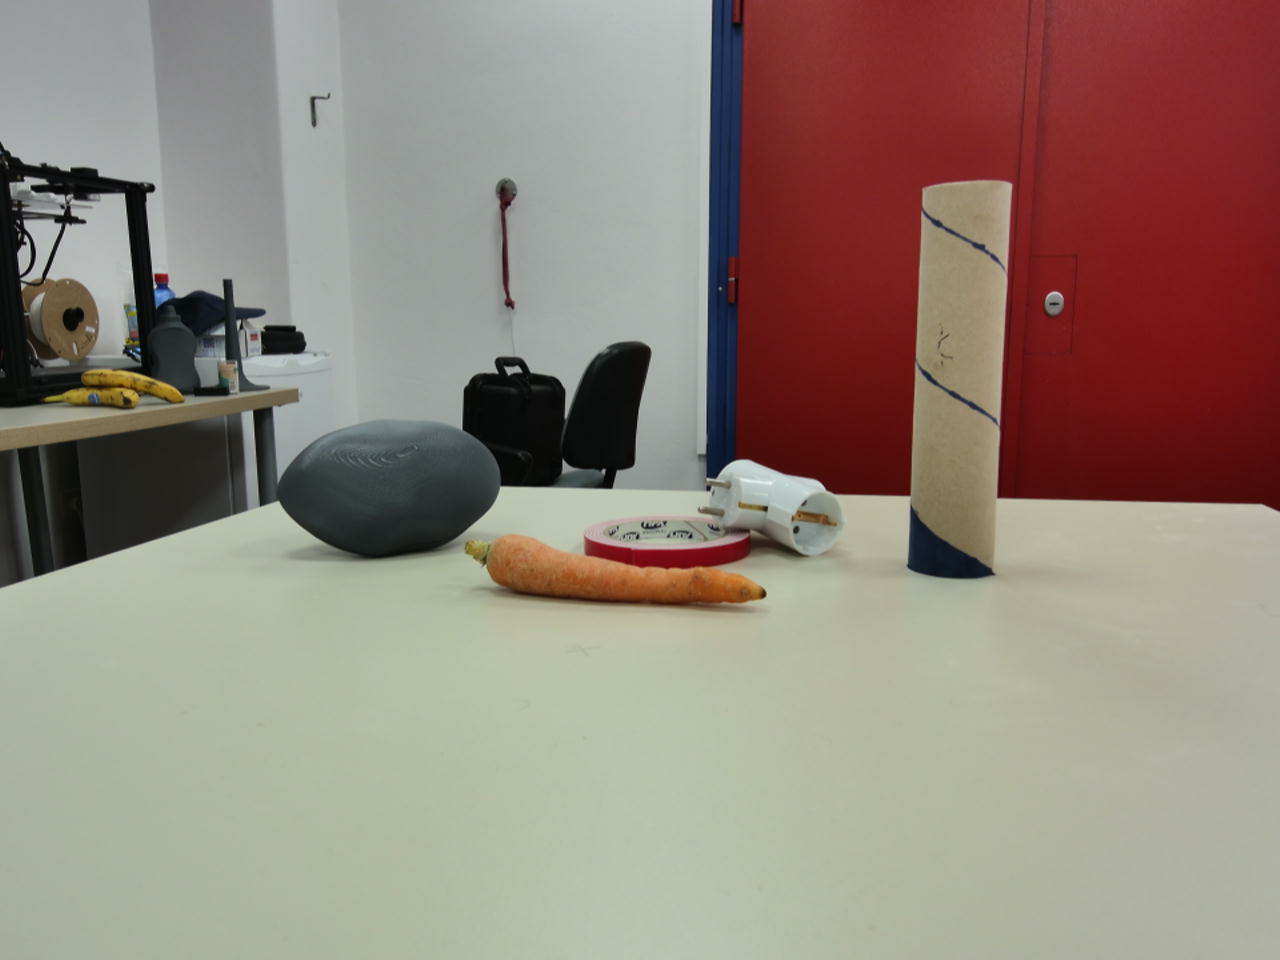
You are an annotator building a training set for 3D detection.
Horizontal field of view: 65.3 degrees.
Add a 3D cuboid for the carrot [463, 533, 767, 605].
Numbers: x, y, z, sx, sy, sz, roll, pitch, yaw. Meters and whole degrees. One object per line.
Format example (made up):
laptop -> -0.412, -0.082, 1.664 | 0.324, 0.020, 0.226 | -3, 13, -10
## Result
carrot -> -0.018, 0.049, 0.536 | 0.173, 0.032, 0.030 | 2, 7, 21
